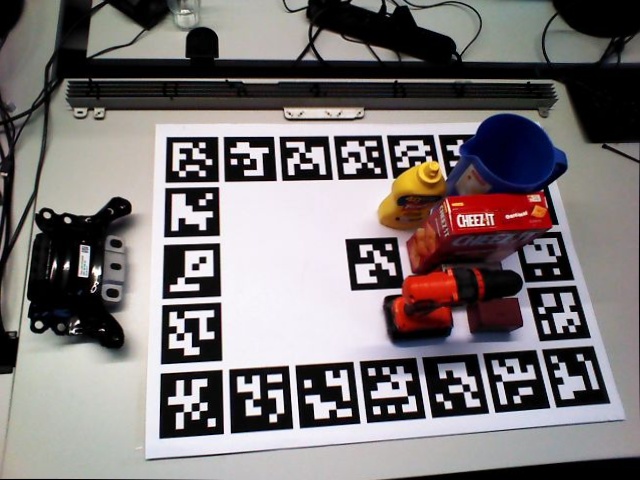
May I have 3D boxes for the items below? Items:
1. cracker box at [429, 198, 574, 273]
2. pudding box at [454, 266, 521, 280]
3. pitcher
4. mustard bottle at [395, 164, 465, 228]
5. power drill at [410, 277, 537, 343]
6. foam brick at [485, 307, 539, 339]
[{"bbox_3d":[0.289,0.011,0.867,0.164,0.214,0.071,-4,68,-5],"label":"cracker box"},{"bbox_3d":[0.279,0.076,0.900,0.114,0.090,0.038,-1,68,-4],"label":"pudding box"},{"bbox_3d":[0.330,-0.087,0.903,0.189,0.243,0.132,4,69,-3],"label":"pitcher"},{"bbox_3d":[0.197,-0.080,0.898,0.096,0.192,0.058,11,69,-2],"label":"mustard bottle"},{"bbox_3d":[0.229,0.109,0.807,0.184,0.188,0.057,-2,66,-8],"label":"power drill"},{"bbox_3d":[0.336,0.146,0.914,0.078,0.051,0.052,1,71,-6],"label":"foam brick"}]
